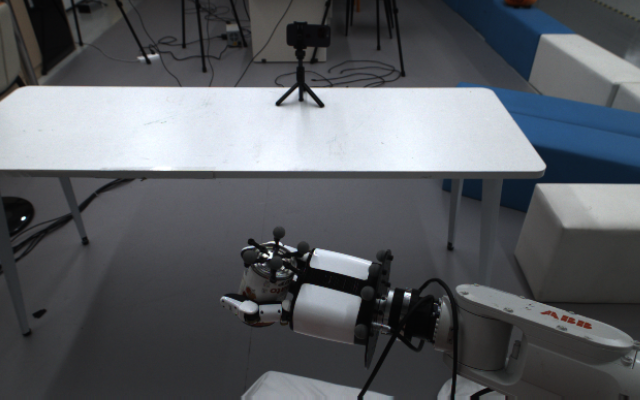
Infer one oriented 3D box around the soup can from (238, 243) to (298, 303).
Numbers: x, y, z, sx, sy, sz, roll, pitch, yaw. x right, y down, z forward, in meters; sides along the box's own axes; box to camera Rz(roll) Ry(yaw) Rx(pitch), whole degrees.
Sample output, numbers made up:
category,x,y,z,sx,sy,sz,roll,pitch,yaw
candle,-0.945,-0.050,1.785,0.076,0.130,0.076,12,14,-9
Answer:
category,x,y,z,sx,sy,sz,roll,pitch,yaw
soup can,-0.076,0.119,0.669,0.067,0.101,0.067,14,35,-10
